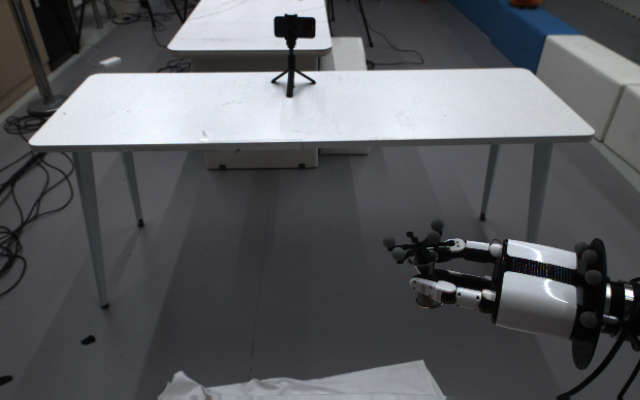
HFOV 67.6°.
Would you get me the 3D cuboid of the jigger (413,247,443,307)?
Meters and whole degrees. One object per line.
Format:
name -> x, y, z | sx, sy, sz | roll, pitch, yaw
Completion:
jigger -> 0.145, 0.105, 0.653 | 0.043, 0.071, 0.043 | -14, 21, 6
